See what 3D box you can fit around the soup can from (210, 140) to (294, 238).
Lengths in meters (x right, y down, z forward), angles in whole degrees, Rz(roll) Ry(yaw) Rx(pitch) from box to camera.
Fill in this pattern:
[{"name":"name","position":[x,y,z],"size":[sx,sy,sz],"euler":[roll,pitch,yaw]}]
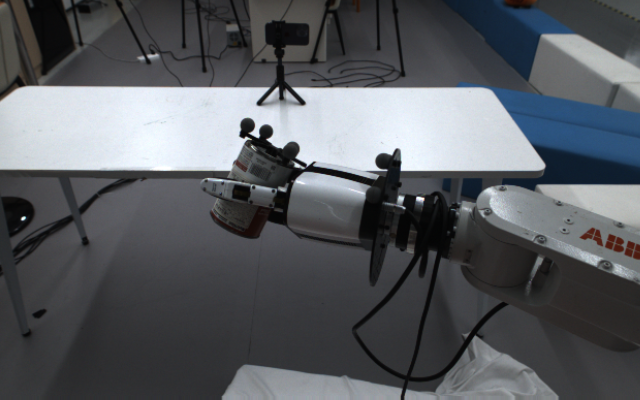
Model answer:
[{"name":"soup can","position":[-0.081,-0.013,0.587],"size":[0.067,0.101,0.067],"euler":[27,10,-5]}]
